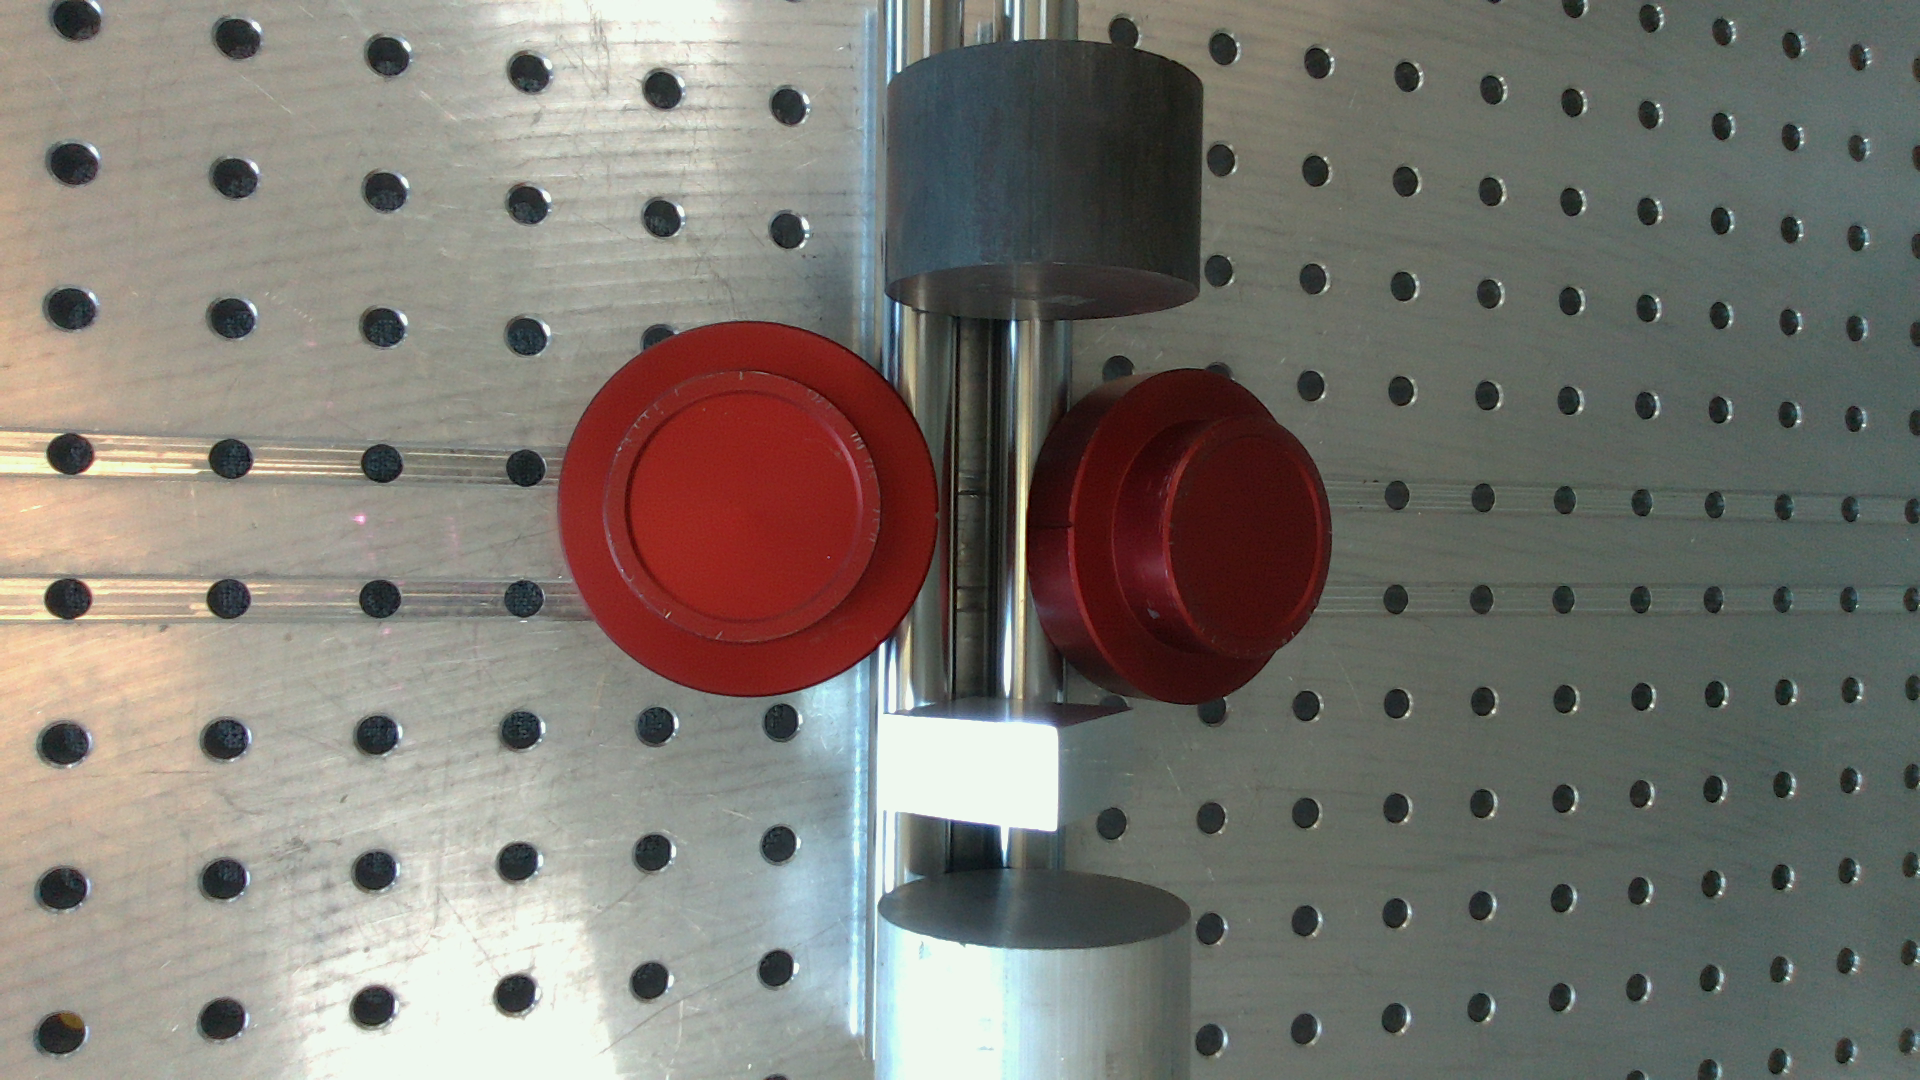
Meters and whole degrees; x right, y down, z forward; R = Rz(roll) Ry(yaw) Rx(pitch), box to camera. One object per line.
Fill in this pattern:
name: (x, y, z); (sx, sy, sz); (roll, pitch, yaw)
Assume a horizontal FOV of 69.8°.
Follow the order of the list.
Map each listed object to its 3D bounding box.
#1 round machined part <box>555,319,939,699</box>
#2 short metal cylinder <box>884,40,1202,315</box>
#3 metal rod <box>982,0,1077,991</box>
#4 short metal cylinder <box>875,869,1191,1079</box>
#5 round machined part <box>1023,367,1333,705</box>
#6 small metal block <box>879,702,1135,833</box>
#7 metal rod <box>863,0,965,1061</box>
round machined part: (-0.054, -0.008, 0.354); (0.098, 0.042, 0.098); (0, 90, -6)
short metal cylinder: (0.021, -0.088, 0.351); (0.080, 0.080, 0.050); (1, 90, -20)
metal rod: (0.020, -0.007, 0.402); (0.025, 0.025, 0.300); (1, 90, -20)
short metal cylinder: (0.018, 0.118, 0.351); (0.080, 0.080, 0.050); (1, 90, -20)
round machined part: (0.069, -0.001, 0.398); (0.098, 0.042, 0.098); (0, 90, -35)
small metal block: (0.013, 0.058, 0.363); (0.050, 0.050, 0.025); (2, 89, -61)
metal rod: (-0.013, -0.005, 0.390); (0.025, 0.025, 0.300); (1, 90, -20)
